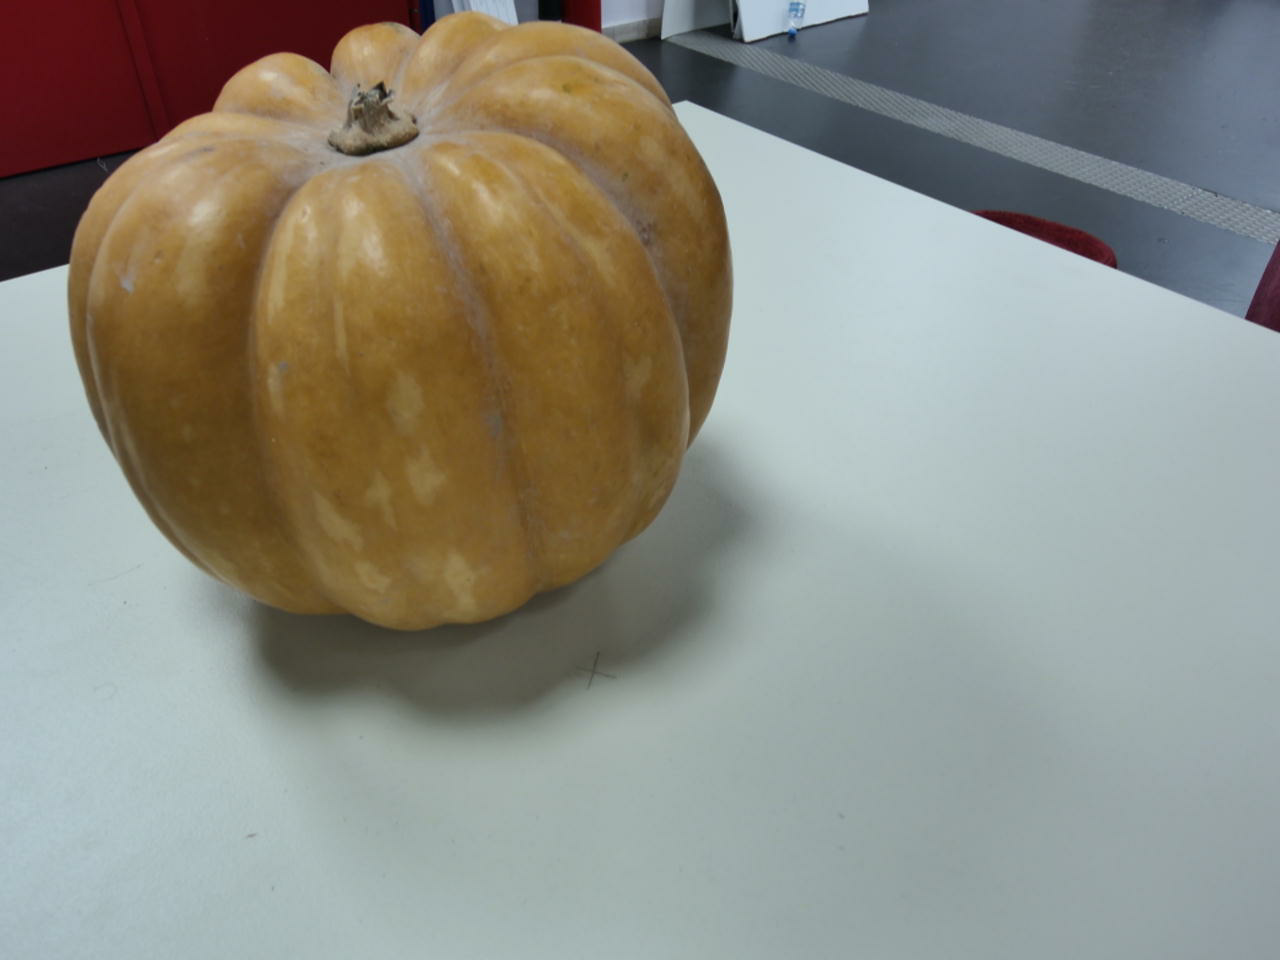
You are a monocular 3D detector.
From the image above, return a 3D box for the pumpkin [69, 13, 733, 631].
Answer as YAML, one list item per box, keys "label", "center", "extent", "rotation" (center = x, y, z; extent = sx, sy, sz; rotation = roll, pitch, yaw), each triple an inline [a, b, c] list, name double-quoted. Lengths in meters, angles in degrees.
- label: "pumpkin"
  center: [-0.077, -0.056, 0.365]
  extent: [0.230, 0.194, 0.230]
  rotation: [0, 38, 0]
